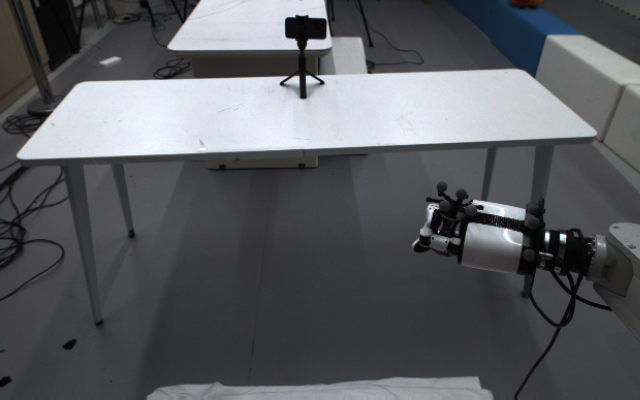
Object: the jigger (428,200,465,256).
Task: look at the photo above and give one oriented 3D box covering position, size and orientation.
[{"bbox_3d":[0.209,0.051,0.786,0.043,0.071,0.043,6,26,-3],"label":"jigger"}]
